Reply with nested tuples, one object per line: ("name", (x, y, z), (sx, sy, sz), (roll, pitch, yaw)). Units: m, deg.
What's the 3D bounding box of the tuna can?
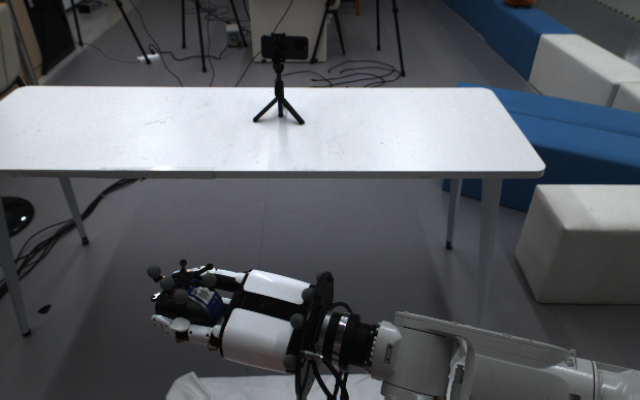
("tuna can", (-0.168, 0.145, 0.638), (0.085, 0.085, 0.034), (11, 34, 13))
